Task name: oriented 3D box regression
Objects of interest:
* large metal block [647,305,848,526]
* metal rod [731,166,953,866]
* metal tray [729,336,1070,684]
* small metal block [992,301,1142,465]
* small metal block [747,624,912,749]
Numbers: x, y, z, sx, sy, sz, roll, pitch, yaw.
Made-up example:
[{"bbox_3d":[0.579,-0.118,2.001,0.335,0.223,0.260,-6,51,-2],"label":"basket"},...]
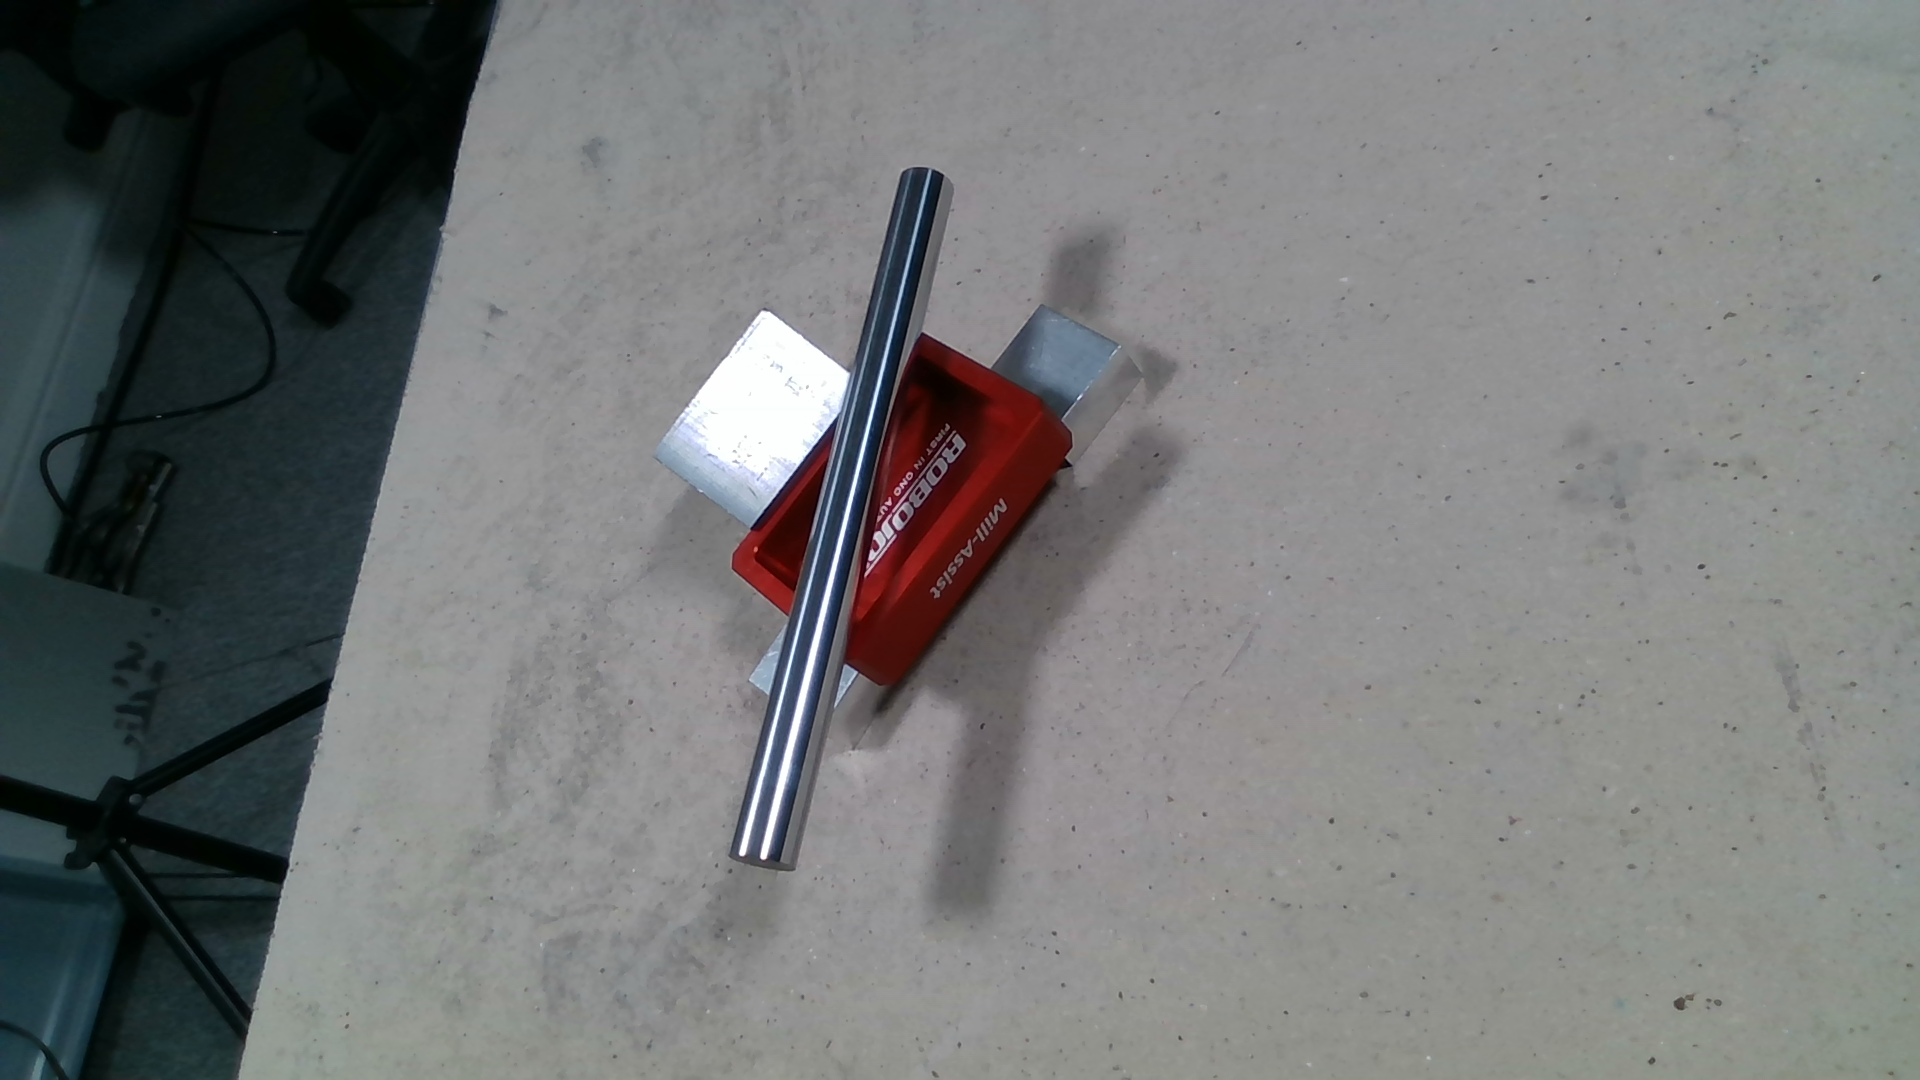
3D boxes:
[{"bbox_3d":[-0.090,-0.052,0.623,0.050,0.080,0.080,37,87,-2],"label":"large metal block"},{"bbox_3d":[-0.043,-0.021,0.552,0.025,0.025,0.299,-2,65,31],"label":"metal rod"},{"bbox_3d":[-0.027,-0.017,0.574,0.090,0.030,0.130,35,86,39],"label":"metal tray"},{"bbox_3d":[0.041,-0.068,0.596,0.050,0.025,0.050,36,87,39],"label":"small metal block"},{"bbox_3d":[-0.055,0.053,0.591,0.050,0.025,0.050,28,82,38],"label":"small metal block"}]
